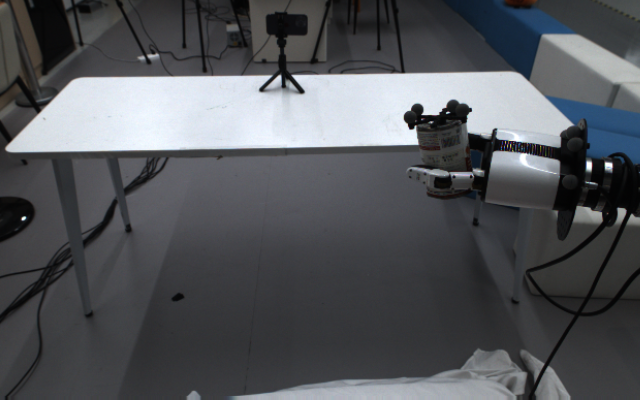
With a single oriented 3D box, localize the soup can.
[{"bbox_3d":[0.176,-0.061,0.669,0.067,0.101,0.067,-13,20,5],"label":"soup can"}]
